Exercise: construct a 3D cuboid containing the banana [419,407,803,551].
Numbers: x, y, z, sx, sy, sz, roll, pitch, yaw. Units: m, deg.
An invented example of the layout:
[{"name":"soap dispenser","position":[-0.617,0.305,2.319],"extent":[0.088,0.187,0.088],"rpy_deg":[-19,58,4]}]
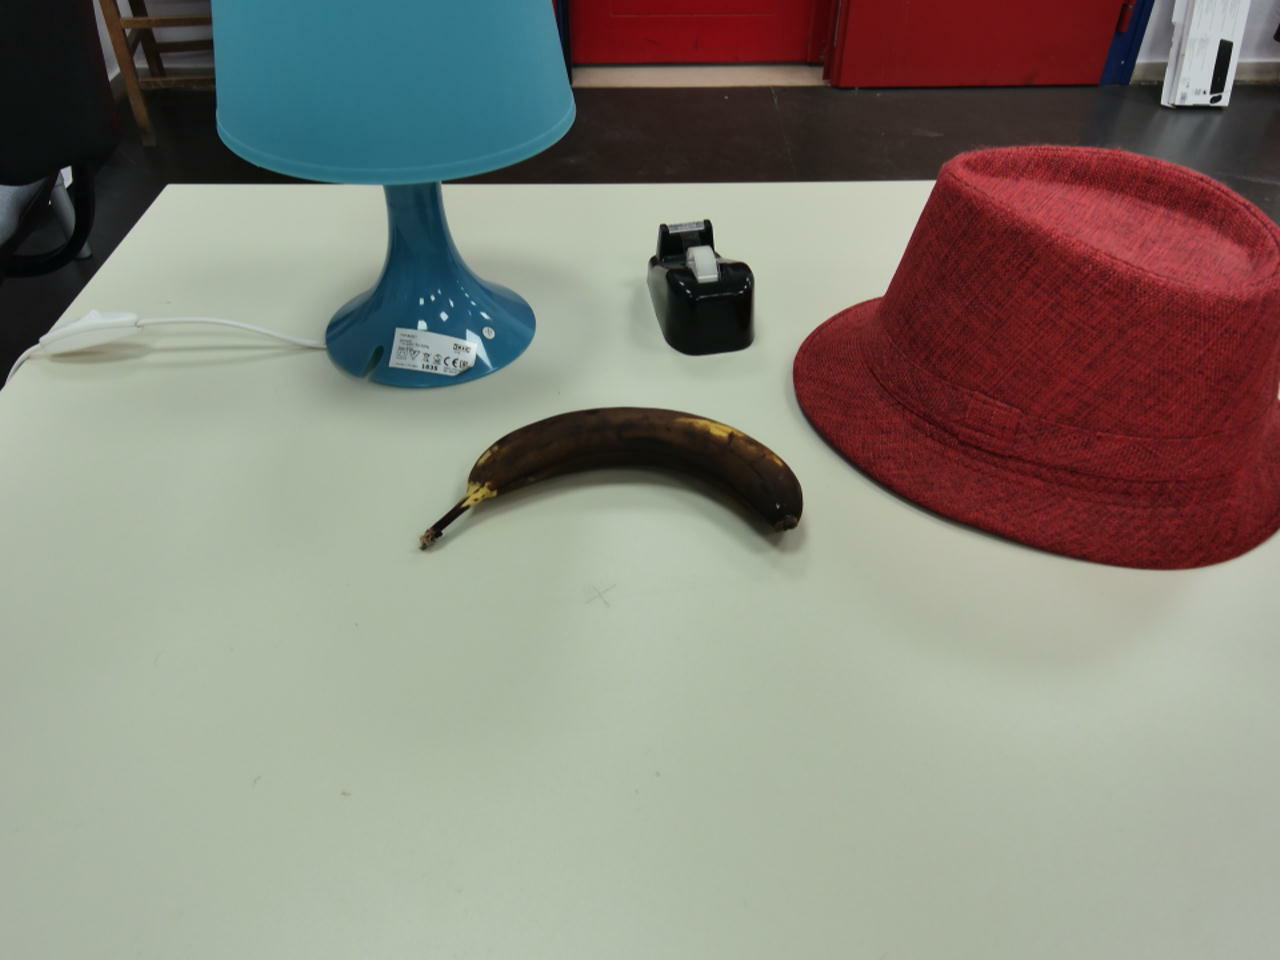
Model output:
[{"name":"banana","position":[-0.013,-0.006,0.510],"extent":[0.188,0.034,0.091],"rpy_deg":[0,39,1]}]
